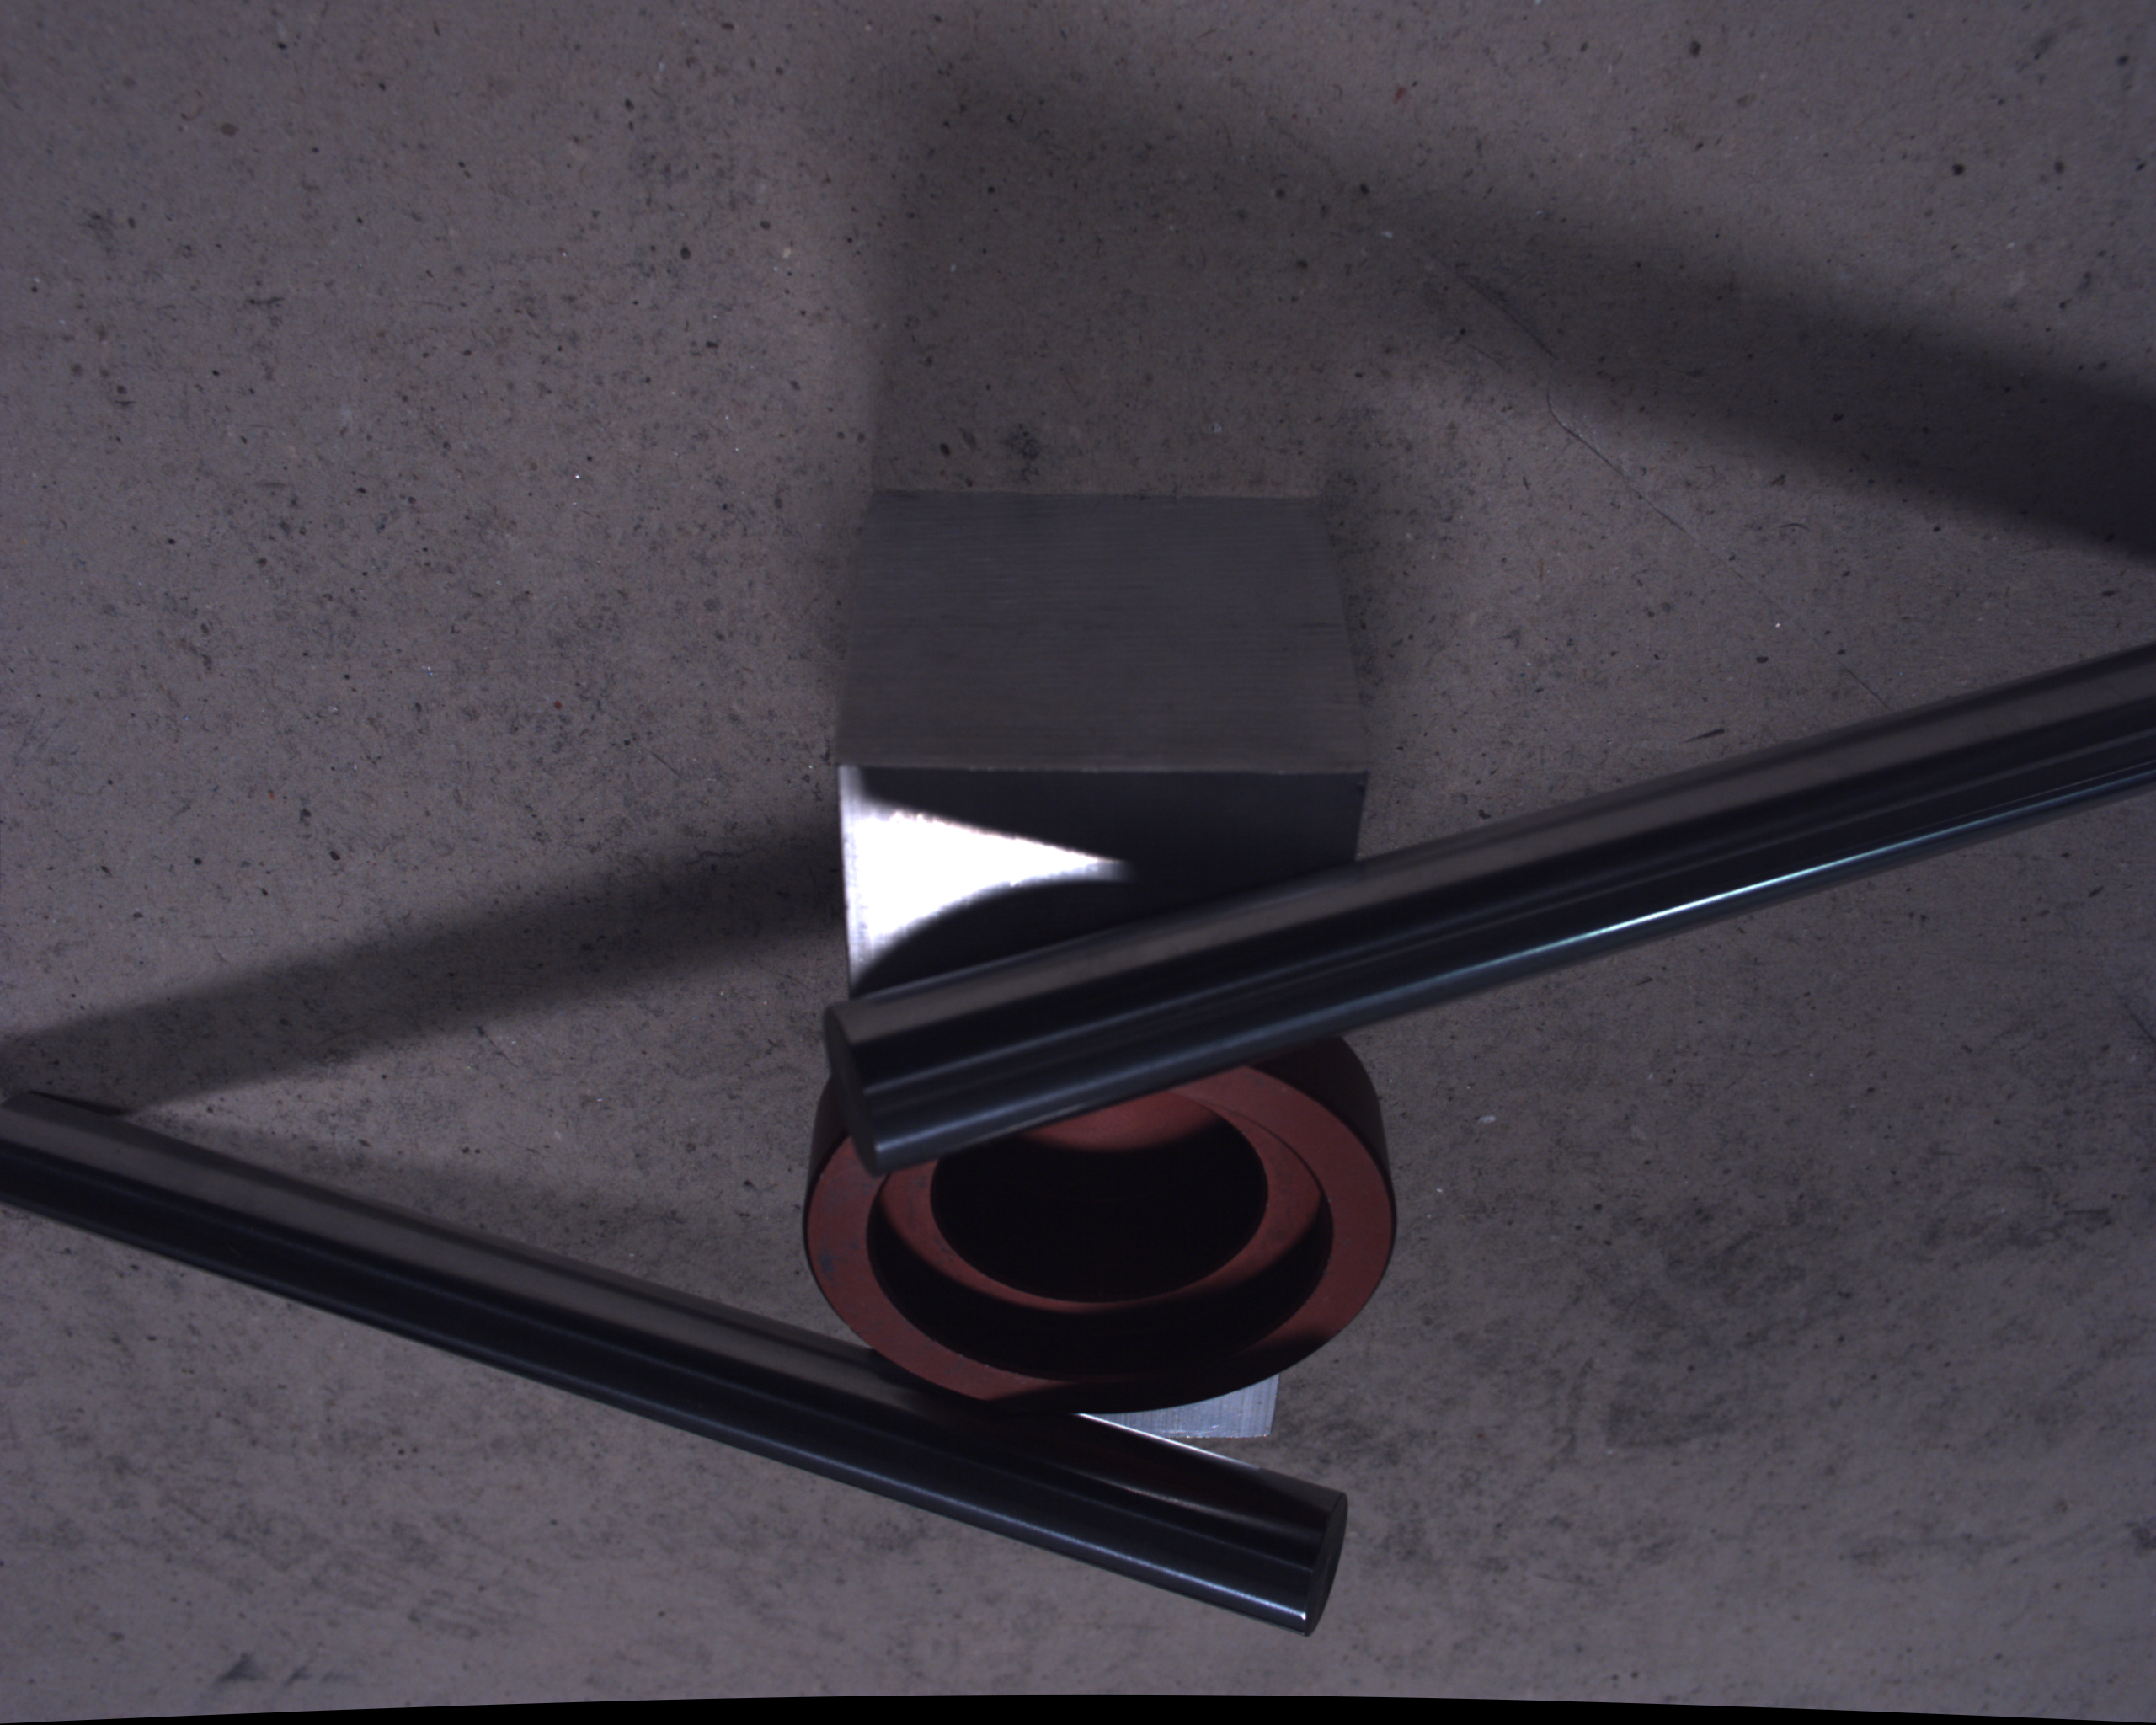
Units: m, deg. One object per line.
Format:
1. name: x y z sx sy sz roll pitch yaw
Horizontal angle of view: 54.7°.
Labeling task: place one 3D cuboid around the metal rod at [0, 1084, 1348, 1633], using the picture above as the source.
1. metal rod: -0.096 0.091 0.412 0.301 0.025 0.025 12 133 19

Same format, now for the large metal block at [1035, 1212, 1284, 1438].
1. large metal block: 0.000 0.071 0.433 0.081 0.080 0.050 1 130 -1

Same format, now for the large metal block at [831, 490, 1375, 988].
1. large metal block: 0.003 -0.021 0.355 0.081 0.080 0.050 1 130 -1

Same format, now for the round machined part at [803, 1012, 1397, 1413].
1. round machined part: 0.004 0.050 0.363 0.099 0.042 0.097 -1 130 0

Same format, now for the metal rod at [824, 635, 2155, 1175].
1. metal rod: 0.108 -0.006 0.335 0.302 0.025 0.025 -15 132 -17
